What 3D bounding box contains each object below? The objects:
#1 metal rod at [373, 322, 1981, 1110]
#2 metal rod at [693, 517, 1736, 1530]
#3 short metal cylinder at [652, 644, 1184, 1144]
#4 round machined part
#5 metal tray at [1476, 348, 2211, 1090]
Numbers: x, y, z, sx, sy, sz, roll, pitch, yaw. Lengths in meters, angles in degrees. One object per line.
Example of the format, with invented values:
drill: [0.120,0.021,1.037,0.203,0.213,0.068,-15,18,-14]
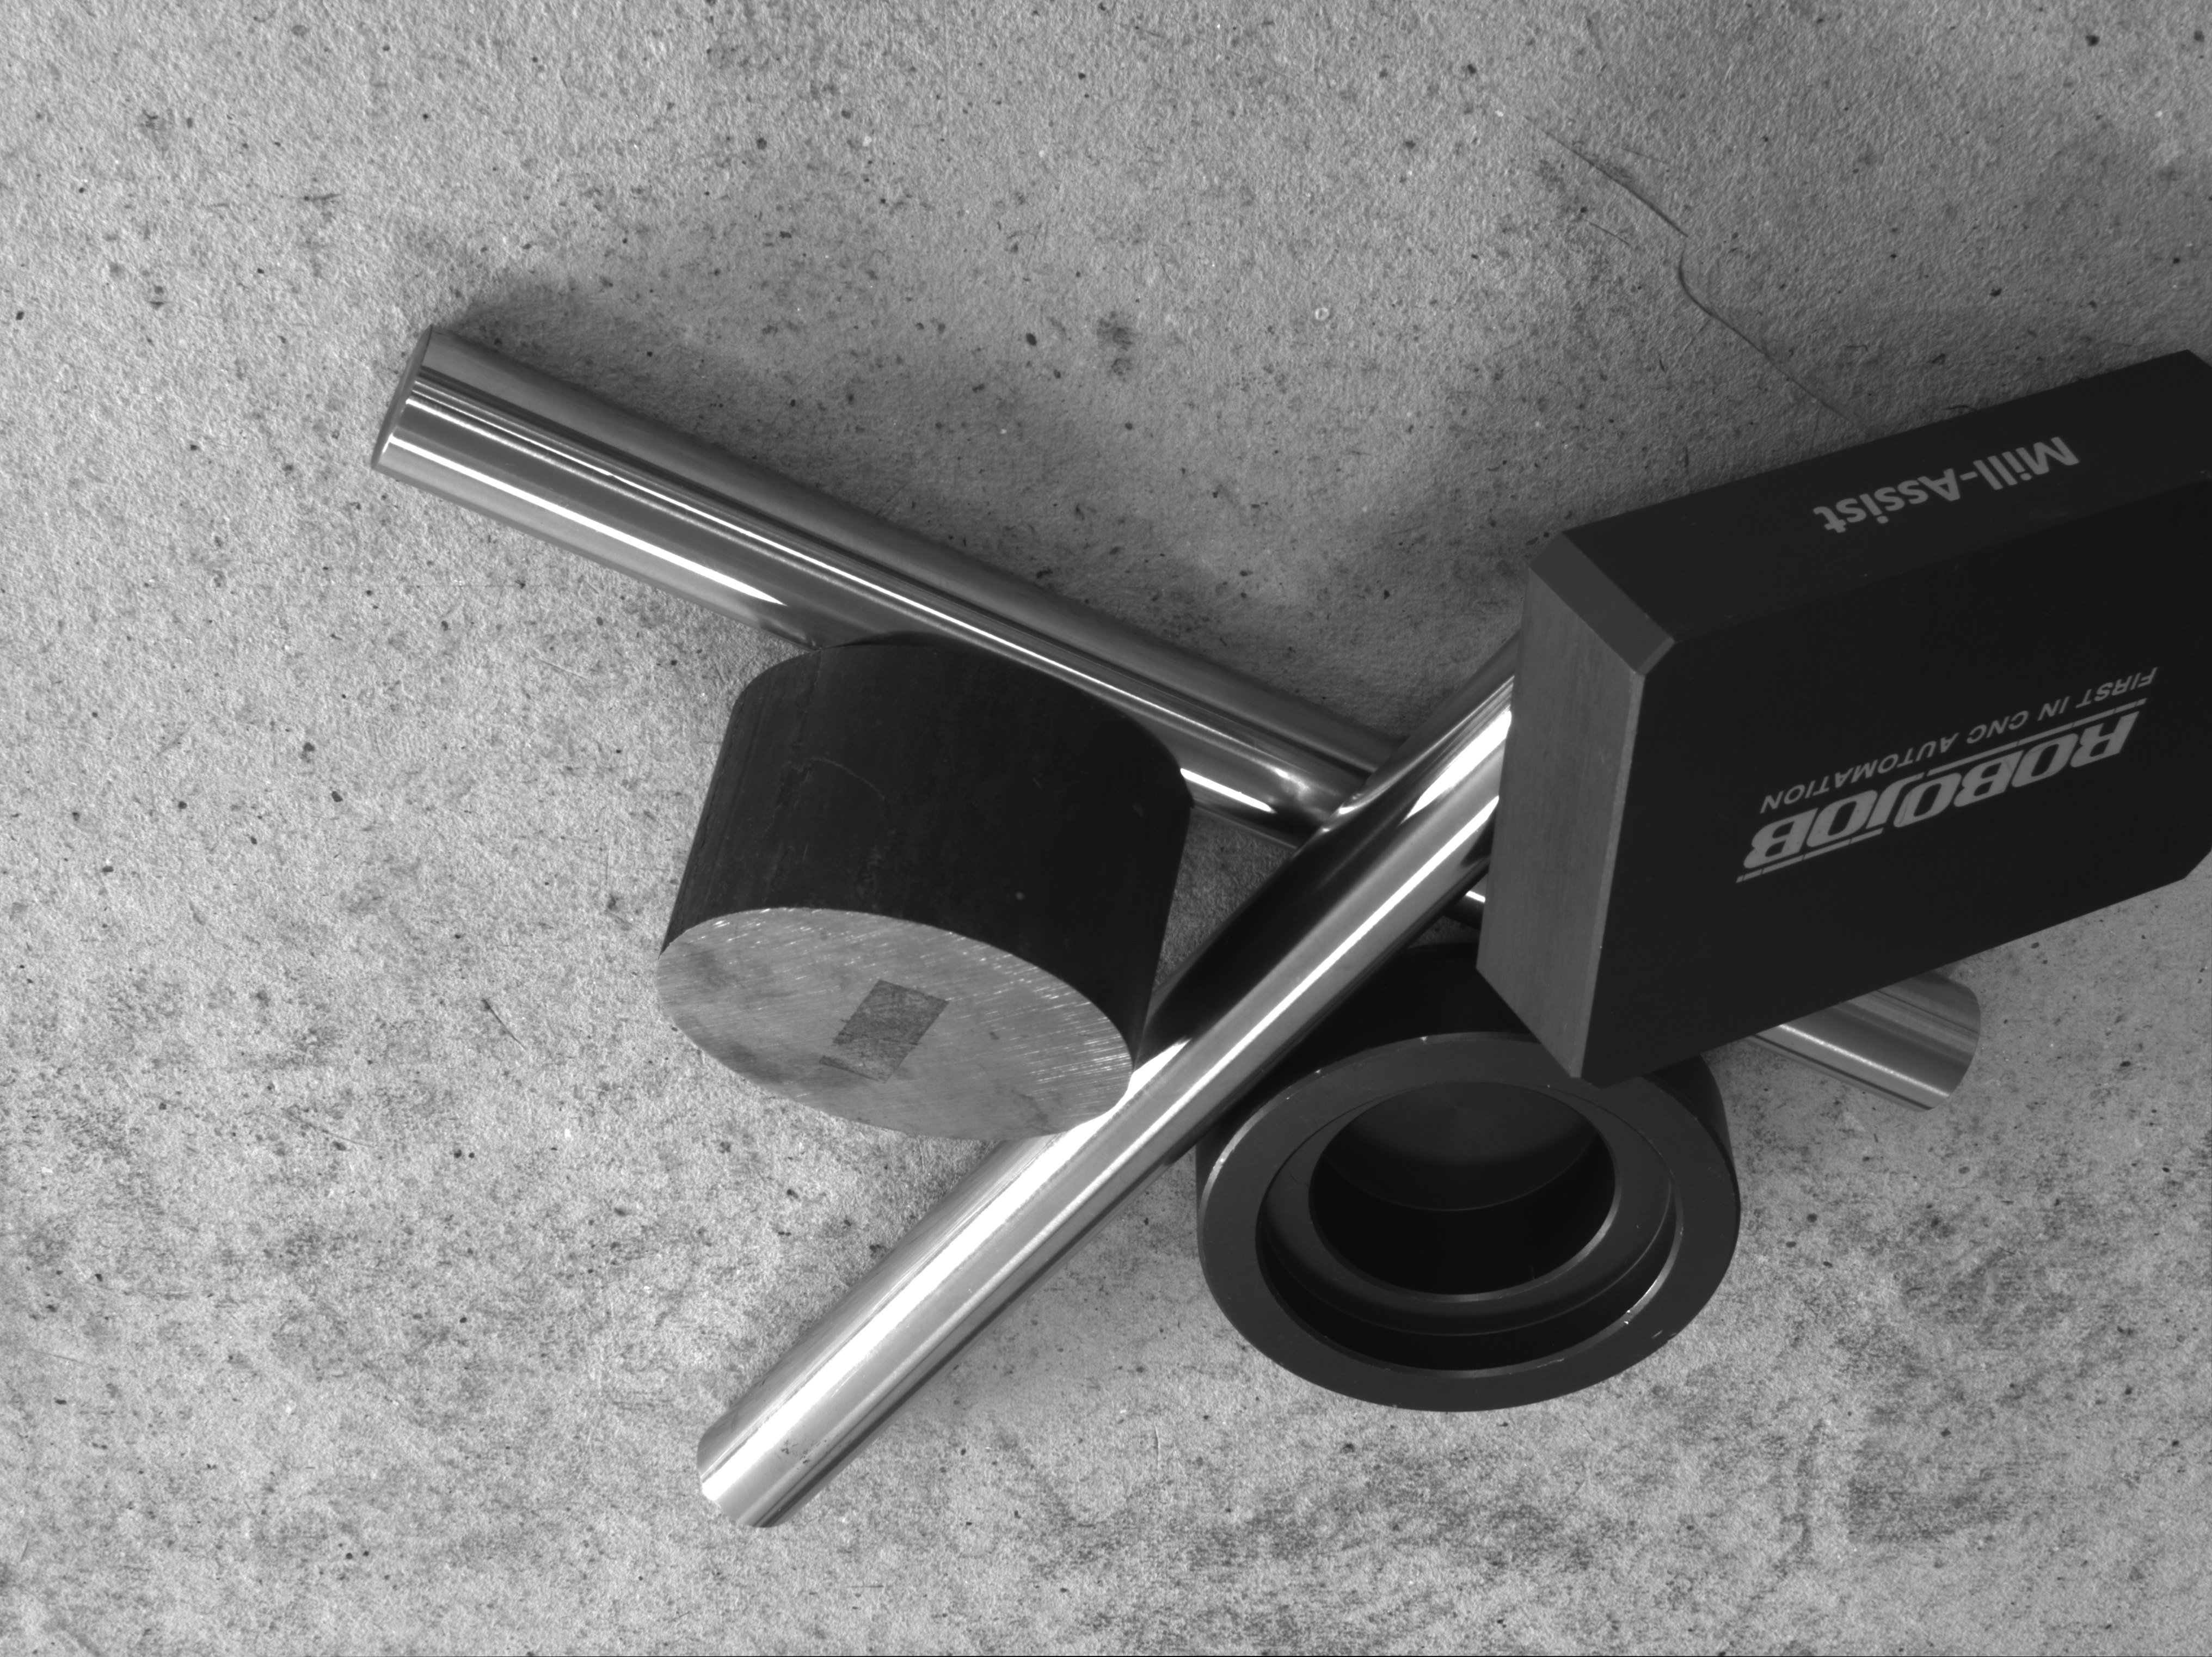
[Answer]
metal rod: [0.020,-0.014,0.629,0.301,0.025,0.025,22,126,-18]
metal rod: [0.007,0.047,0.656,0.025,0.025,0.299,26,132,-20]
short metal cylinder: [-0.031,0.012,0.617,0.080,0.050,0.080,10,151,6]
round machined part: [0.065,0.060,0.679,0.098,0.042,0.098,0,130,0]
metal tray: [0.125,-0.018,0.585,0.130,0.030,0.090,-17,134,-22]
